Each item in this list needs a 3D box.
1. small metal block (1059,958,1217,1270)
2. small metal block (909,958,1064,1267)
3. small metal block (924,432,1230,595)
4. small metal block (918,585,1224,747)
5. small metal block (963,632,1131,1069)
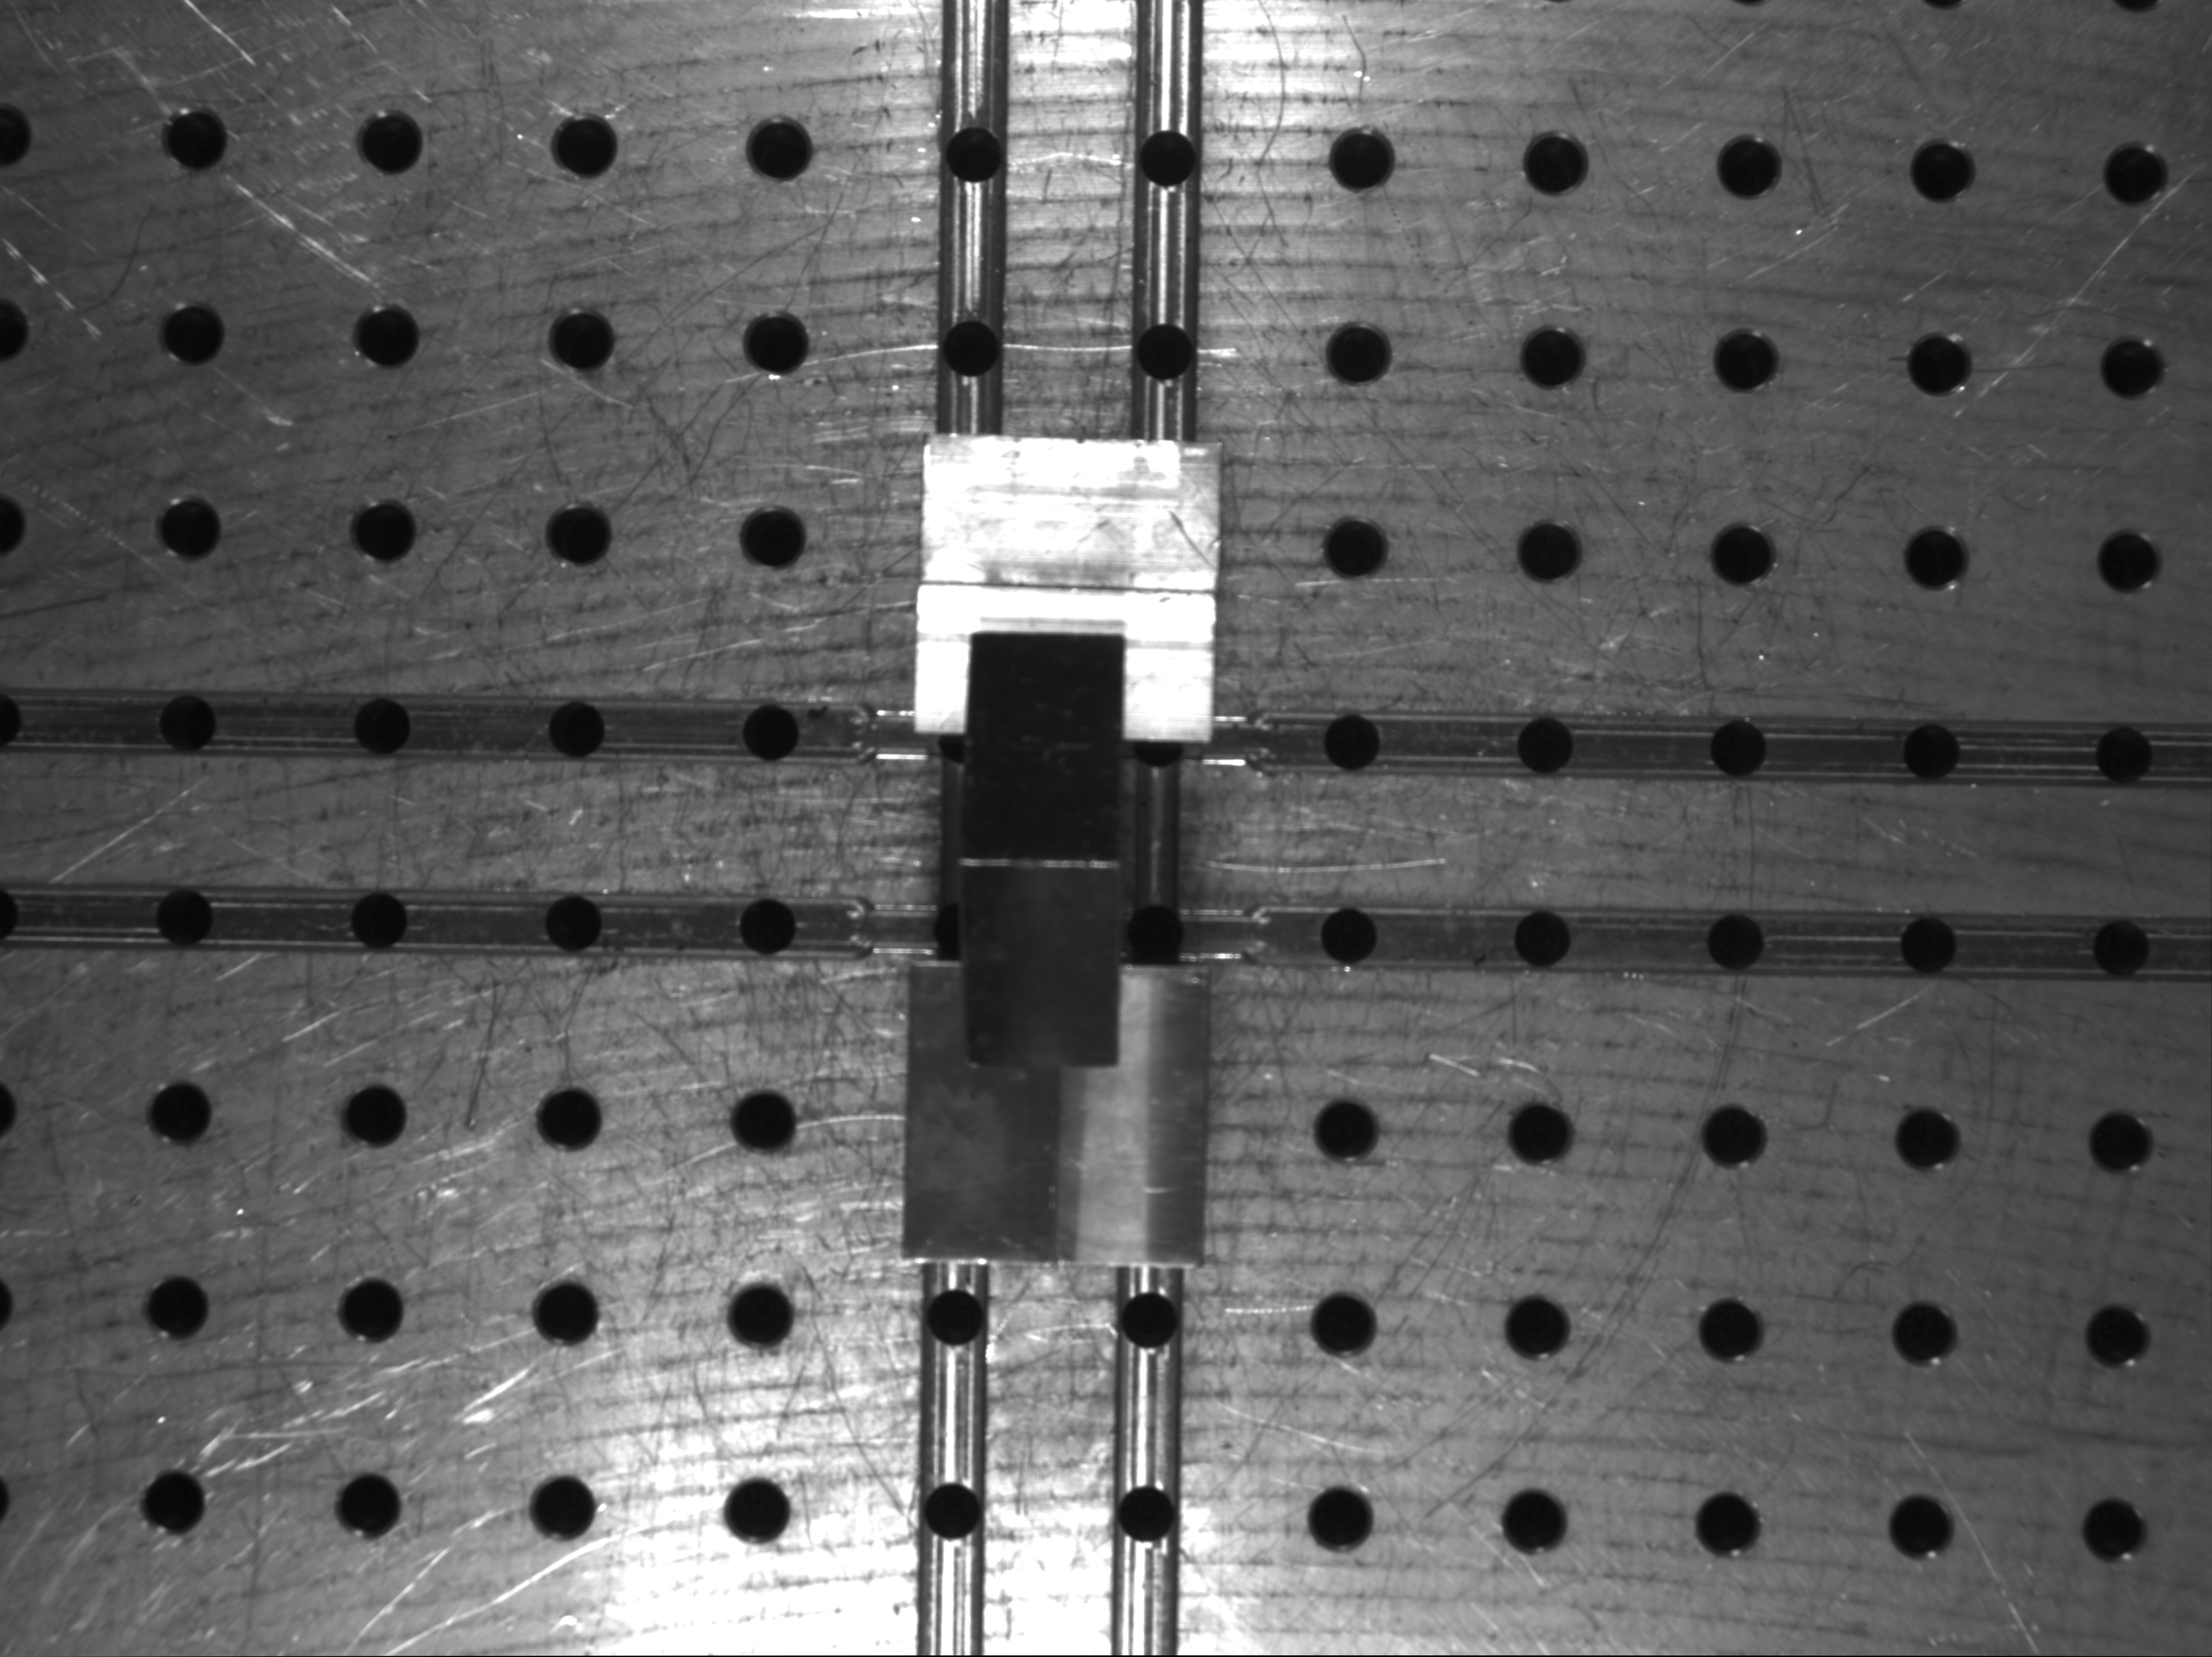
[{"bbox_3d":[0.005,0.048,0.634,0.025,0.050,0.050,1,90,0],"label":"small metal block"},{"bbox_3d":[-0.020,0.048,0.634,0.025,0.050,0.050,1,90,0],"label":"small metal block"},{"bbox_3d":[-0.005,-0.052,0.634,0.050,0.050,0.025,2,90,0],"label":"small metal block"},{"bbox_3d":[-0.006,-0.027,0.634,0.050,0.050,0.025,2,90,0],"label":"small metal block"},{"bbox_3d":[-0.009,0.004,0.593,0.025,0.050,0.050,1,47,1],"label":"small metal block"}]
